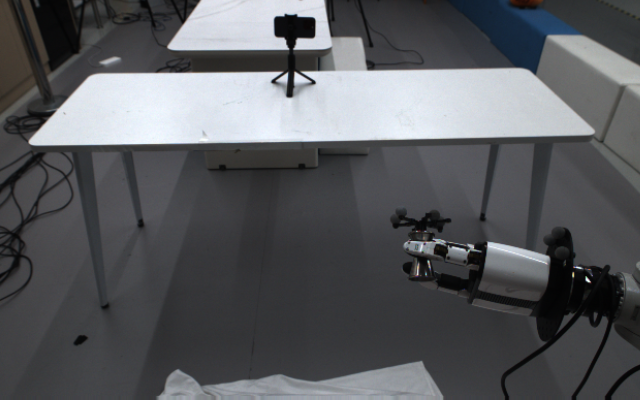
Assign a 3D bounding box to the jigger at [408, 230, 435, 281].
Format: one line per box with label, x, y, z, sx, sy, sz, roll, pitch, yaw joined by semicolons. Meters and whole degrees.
jigger;0.148;0.081;0.709;0.043;0.043;0.071;3;71;2
